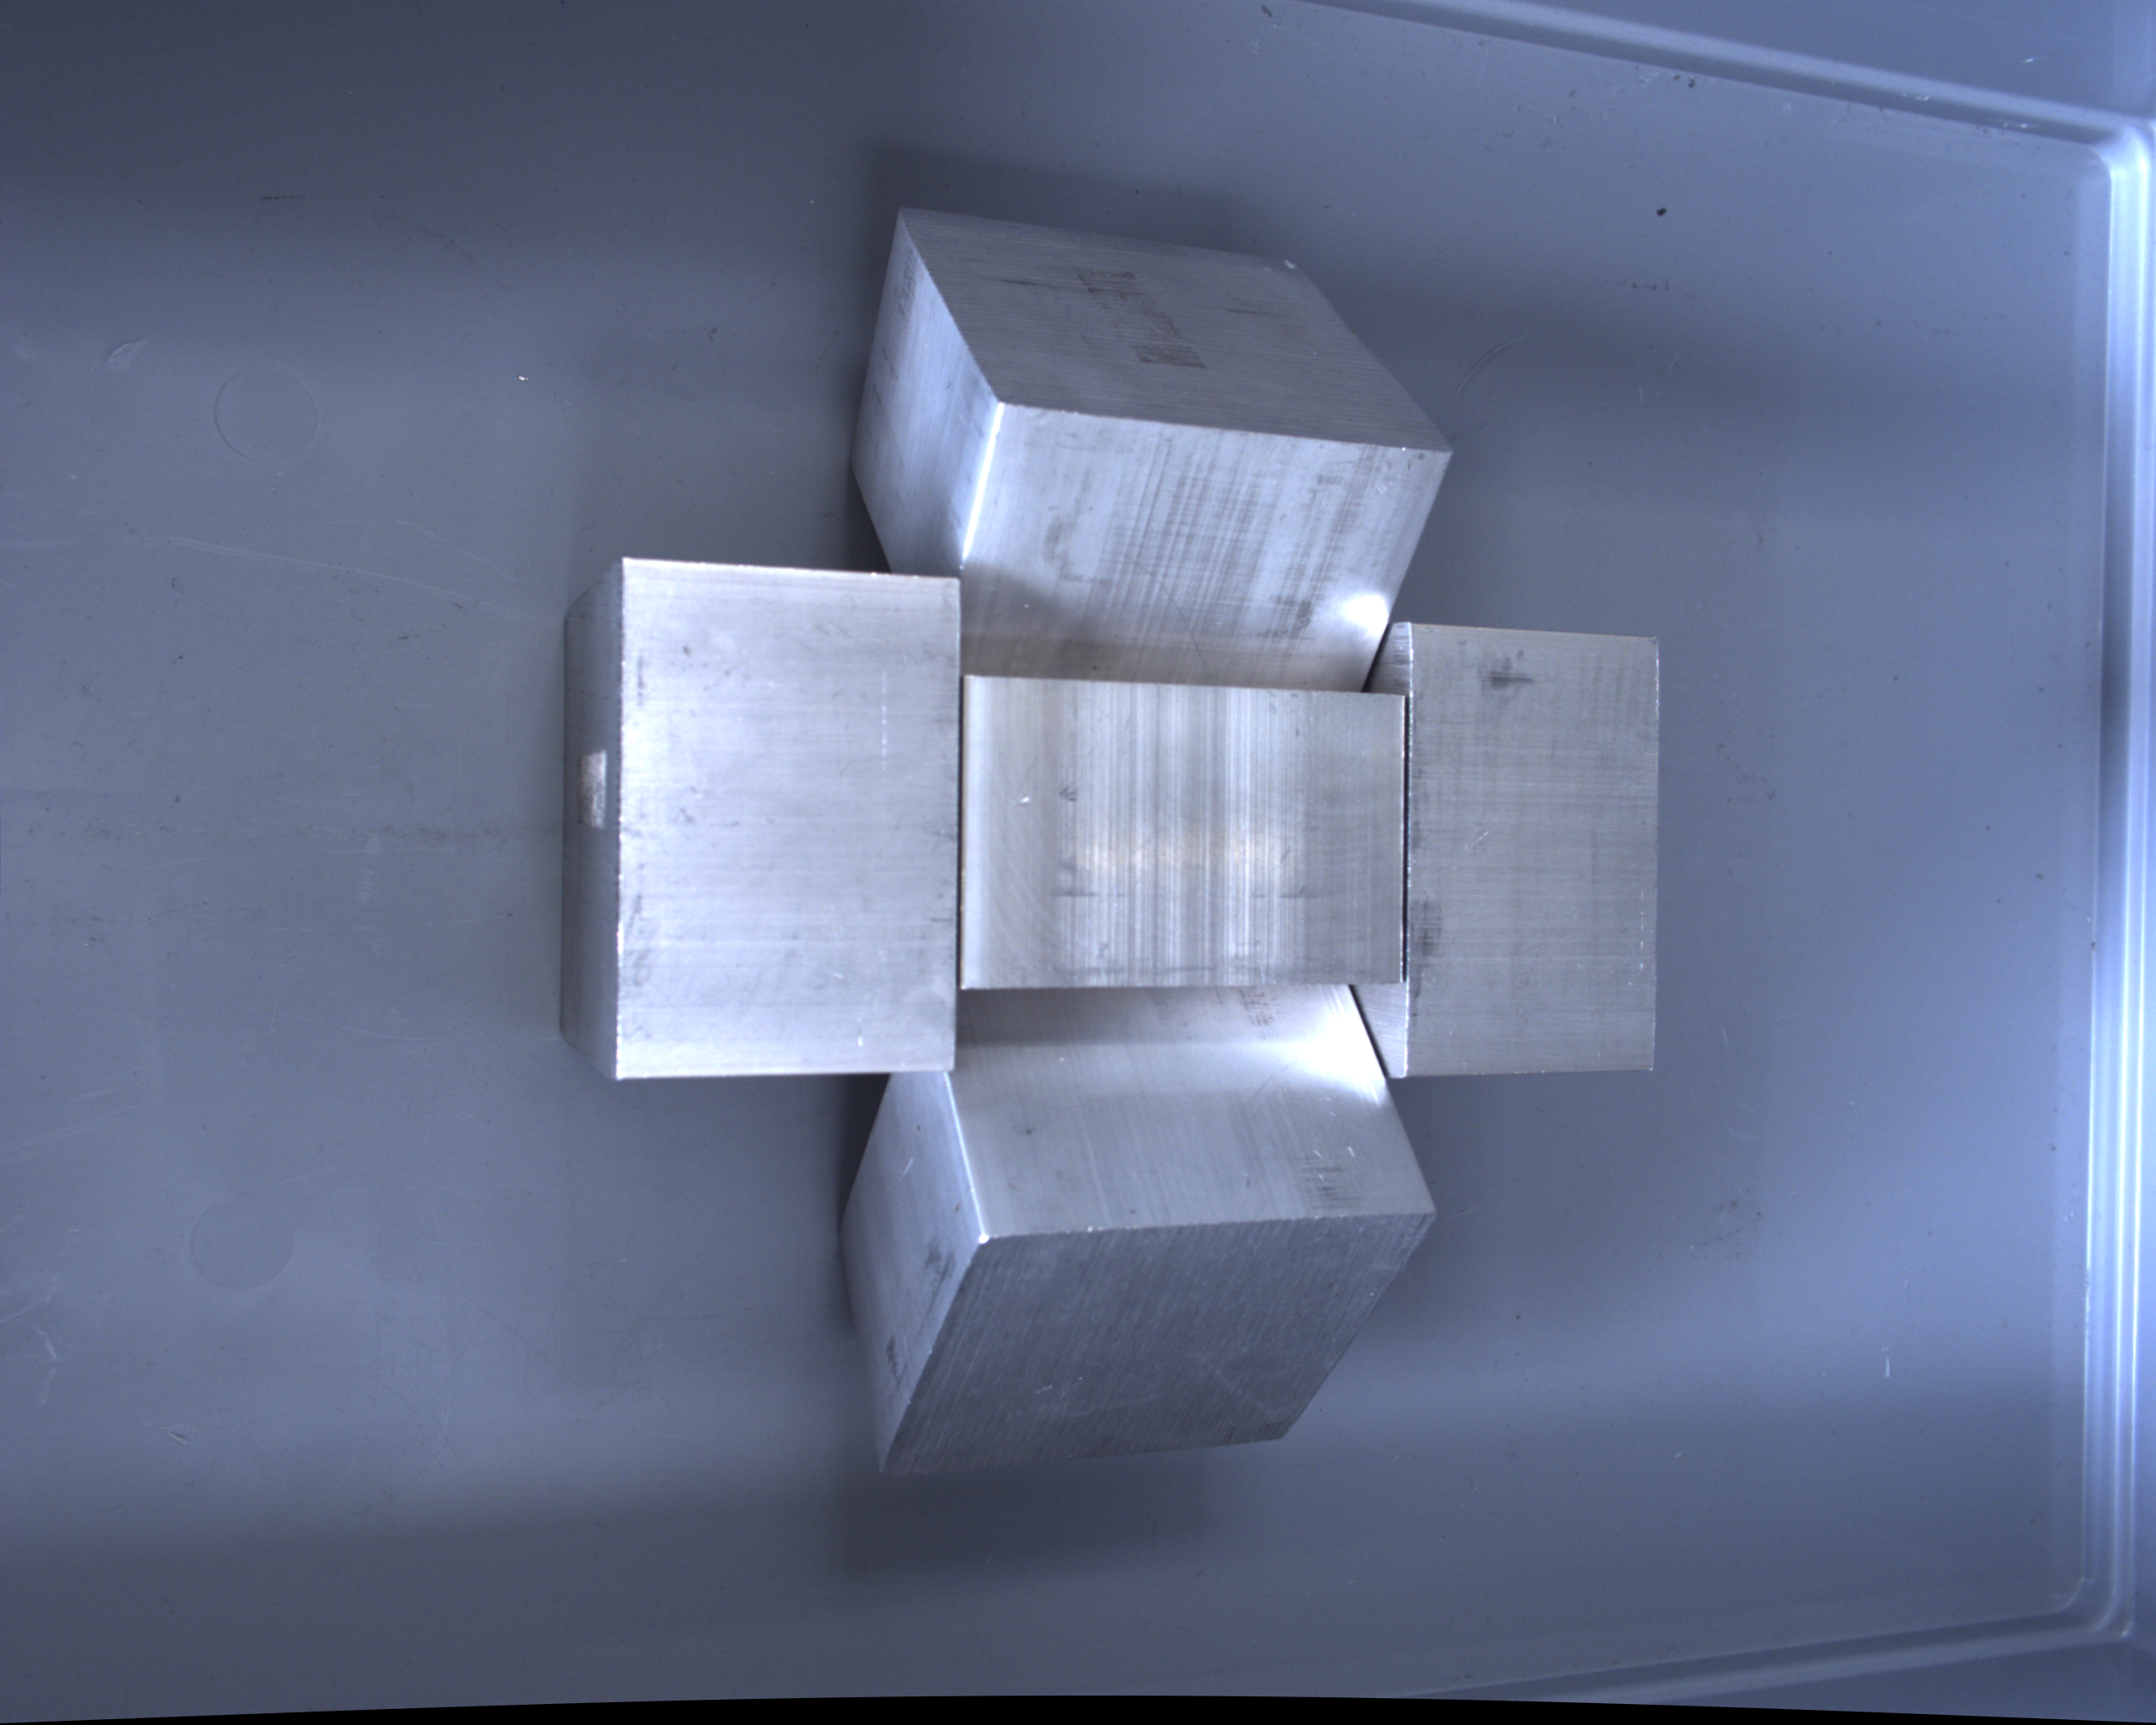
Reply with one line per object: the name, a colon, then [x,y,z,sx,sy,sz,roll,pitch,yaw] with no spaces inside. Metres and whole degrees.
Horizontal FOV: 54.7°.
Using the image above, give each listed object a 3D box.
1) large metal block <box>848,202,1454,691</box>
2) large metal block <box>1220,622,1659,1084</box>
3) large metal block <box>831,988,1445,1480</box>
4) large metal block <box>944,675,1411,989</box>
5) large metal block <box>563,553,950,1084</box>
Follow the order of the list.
large metal block: [0.009,-0.075,0.376,0.081,0.080,0.050,2,127,-20]
large metal block: [0.067,-0.002,0.405,0.050,0.080,0.080,1,90,-20]
large metal block: [0.007,0.066,0.375,0.081,0.079,0.050,1,48,-21]
large metal block: [0.005,-0.005,0.382,0.081,0.080,0.050,1,90,-20]
large metal block: [-0.058,-0.007,0.359,0.050,0.080,0.080,1,90,-20]
